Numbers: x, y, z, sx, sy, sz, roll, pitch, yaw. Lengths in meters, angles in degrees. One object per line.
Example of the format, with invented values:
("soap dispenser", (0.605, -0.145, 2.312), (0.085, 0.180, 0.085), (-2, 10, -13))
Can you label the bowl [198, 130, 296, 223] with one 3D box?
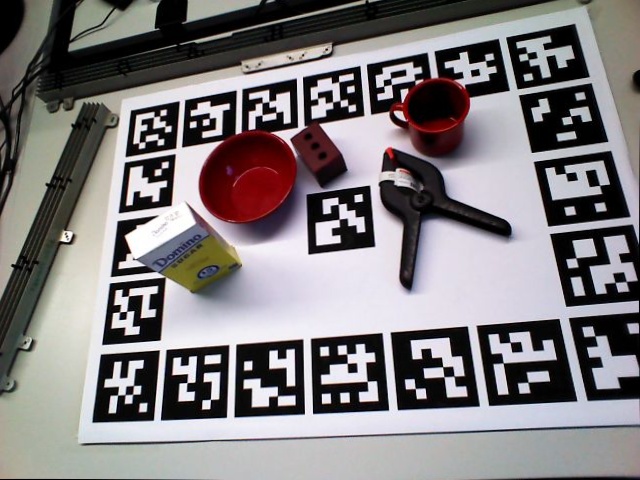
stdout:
("bowl", (-0.109, -0.092, 0.814), (0.162, 0.055, 0.161), (-5, 70, 12))

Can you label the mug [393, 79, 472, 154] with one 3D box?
("mug", (0.164, -0.182, 0.758), (0.117, 0.081, 0.093), (19, 76, 17))

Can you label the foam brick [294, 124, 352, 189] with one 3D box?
("foam brick", (0.005, -0.129, 0.805), (0.053, 0.051, 0.078), (-33, 67, 2))

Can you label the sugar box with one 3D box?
("sugar box", (-0.188, 0.022, 0.728), (0.093, 0.176, 0.045), (-30, 68, 1))

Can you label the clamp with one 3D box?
("clamp", (0.143, -0.053, 0.737), (0.166, 0.036, 0.202), (-30, 67, 5))
